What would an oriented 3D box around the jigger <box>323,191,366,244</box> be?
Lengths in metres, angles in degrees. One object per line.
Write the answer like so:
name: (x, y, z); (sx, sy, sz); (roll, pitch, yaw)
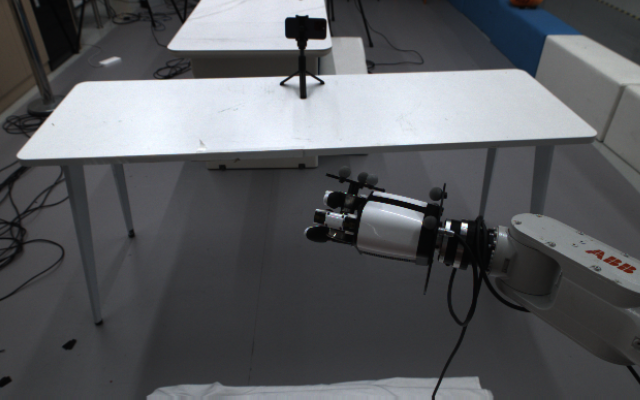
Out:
jigger: (0.038, 0.023, 0.707); (0.043, 0.071, 0.043); (17, 2, -1)
